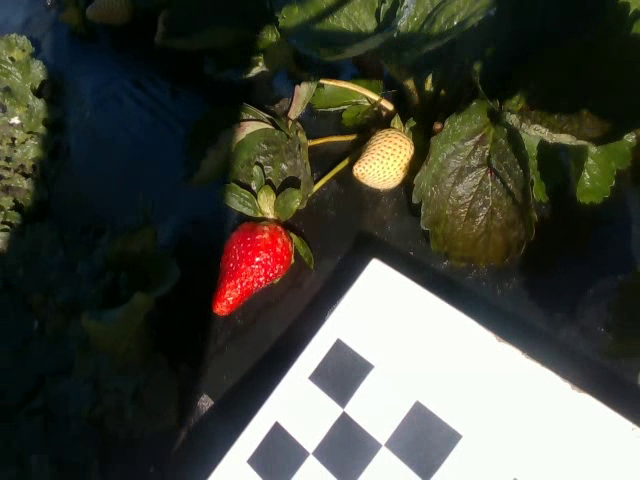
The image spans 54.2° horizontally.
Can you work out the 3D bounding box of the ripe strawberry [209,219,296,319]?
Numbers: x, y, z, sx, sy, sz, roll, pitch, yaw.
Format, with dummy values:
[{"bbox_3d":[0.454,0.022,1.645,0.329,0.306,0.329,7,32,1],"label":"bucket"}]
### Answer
[{"bbox_3d":[-0.040,0.016,0.335,0.048,0.069,0.040,12,-24,33],"label":"ripe strawberry"}]
